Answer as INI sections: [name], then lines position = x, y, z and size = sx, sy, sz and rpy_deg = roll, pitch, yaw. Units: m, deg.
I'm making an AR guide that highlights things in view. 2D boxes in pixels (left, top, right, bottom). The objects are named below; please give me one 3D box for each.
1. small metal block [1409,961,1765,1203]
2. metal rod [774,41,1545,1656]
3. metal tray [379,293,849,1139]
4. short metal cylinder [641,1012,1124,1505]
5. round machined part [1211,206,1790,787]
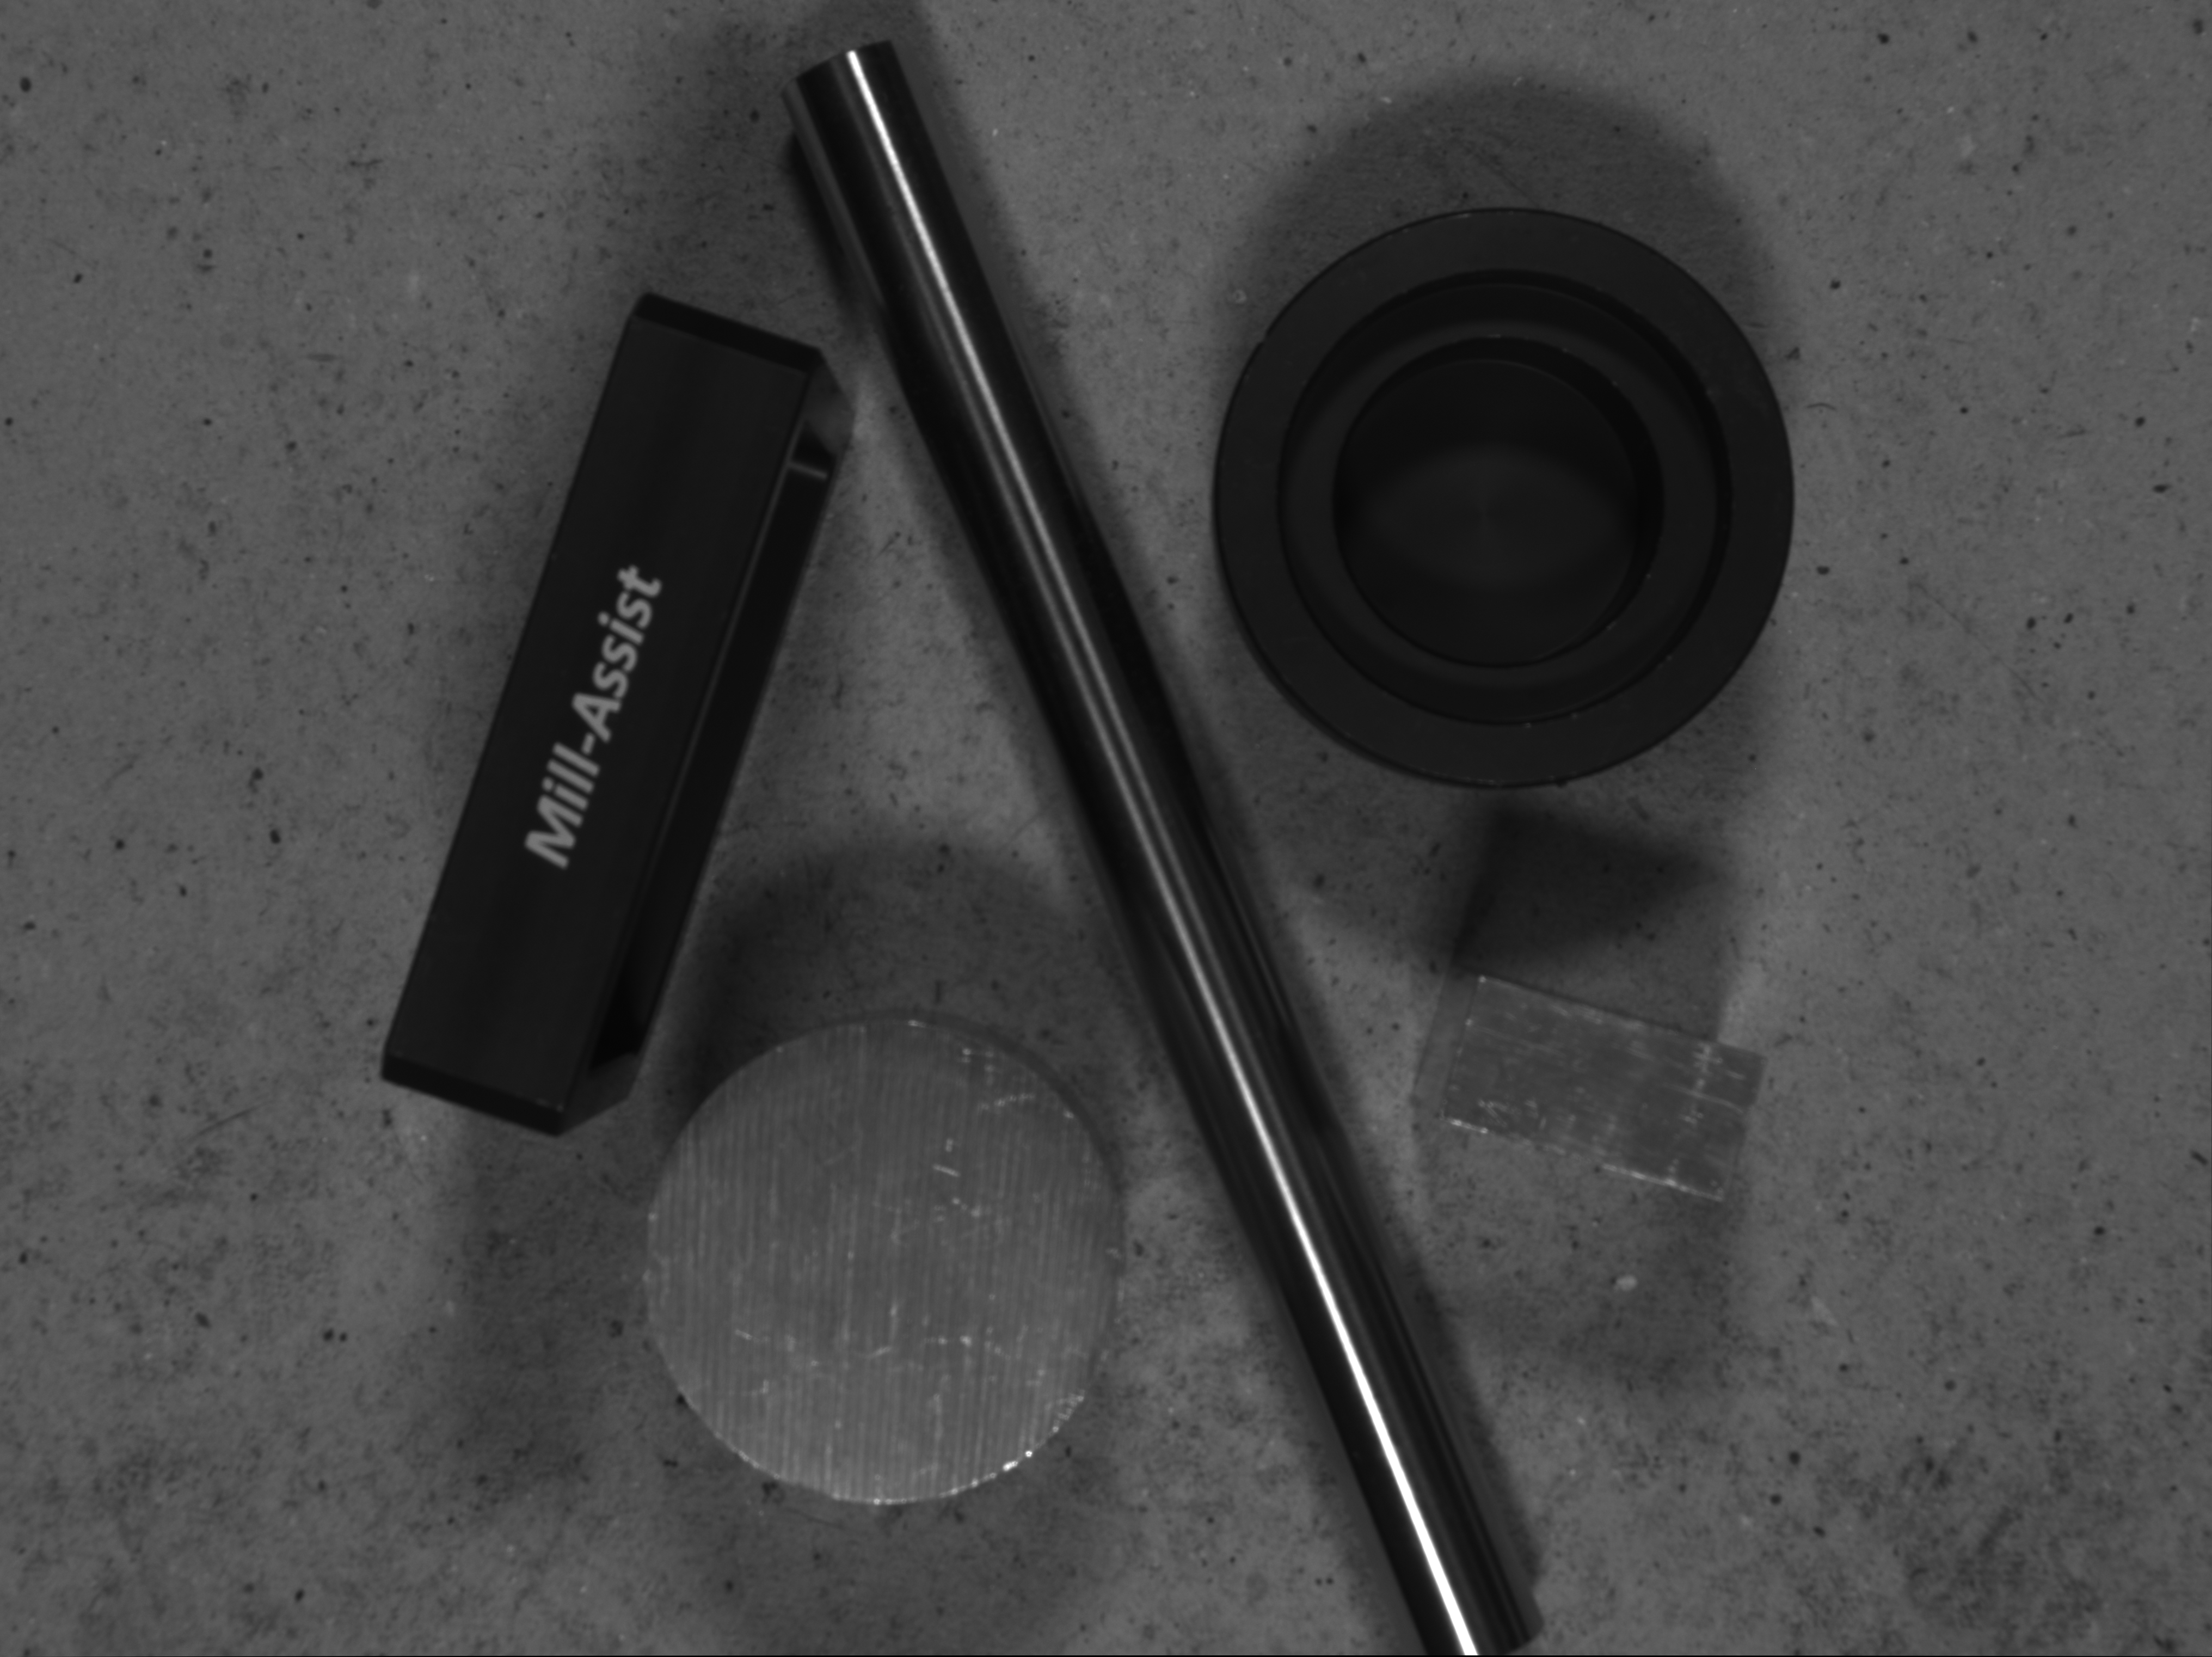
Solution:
[small metal block]
position = 0.081, 0.043, 0.631
size = 0.050, 0.050, 0.025
rpy_deg = 17, 90, 0
[metal rod]
position = 0.009, 0.006, 0.646
size = 0.025, 0.025, 0.300
rpy_deg = -22, 90, 0
[metal tray]
position = -0.079, -0.018, 0.612
size = 0.030, 0.090, 0.130
rpy_deg = 18, 90, 0
[short metal cylinder]
position = -0.037, 0.072, 0.632
size = 0.080, 0.050, 0.080
rpy_deg = 0, 90, 0
[round machined part]
position = 0.067, -0.056, 0.637
size = 0.098, 0.042, 0.098
rpy_deg = 0, 90, 0
